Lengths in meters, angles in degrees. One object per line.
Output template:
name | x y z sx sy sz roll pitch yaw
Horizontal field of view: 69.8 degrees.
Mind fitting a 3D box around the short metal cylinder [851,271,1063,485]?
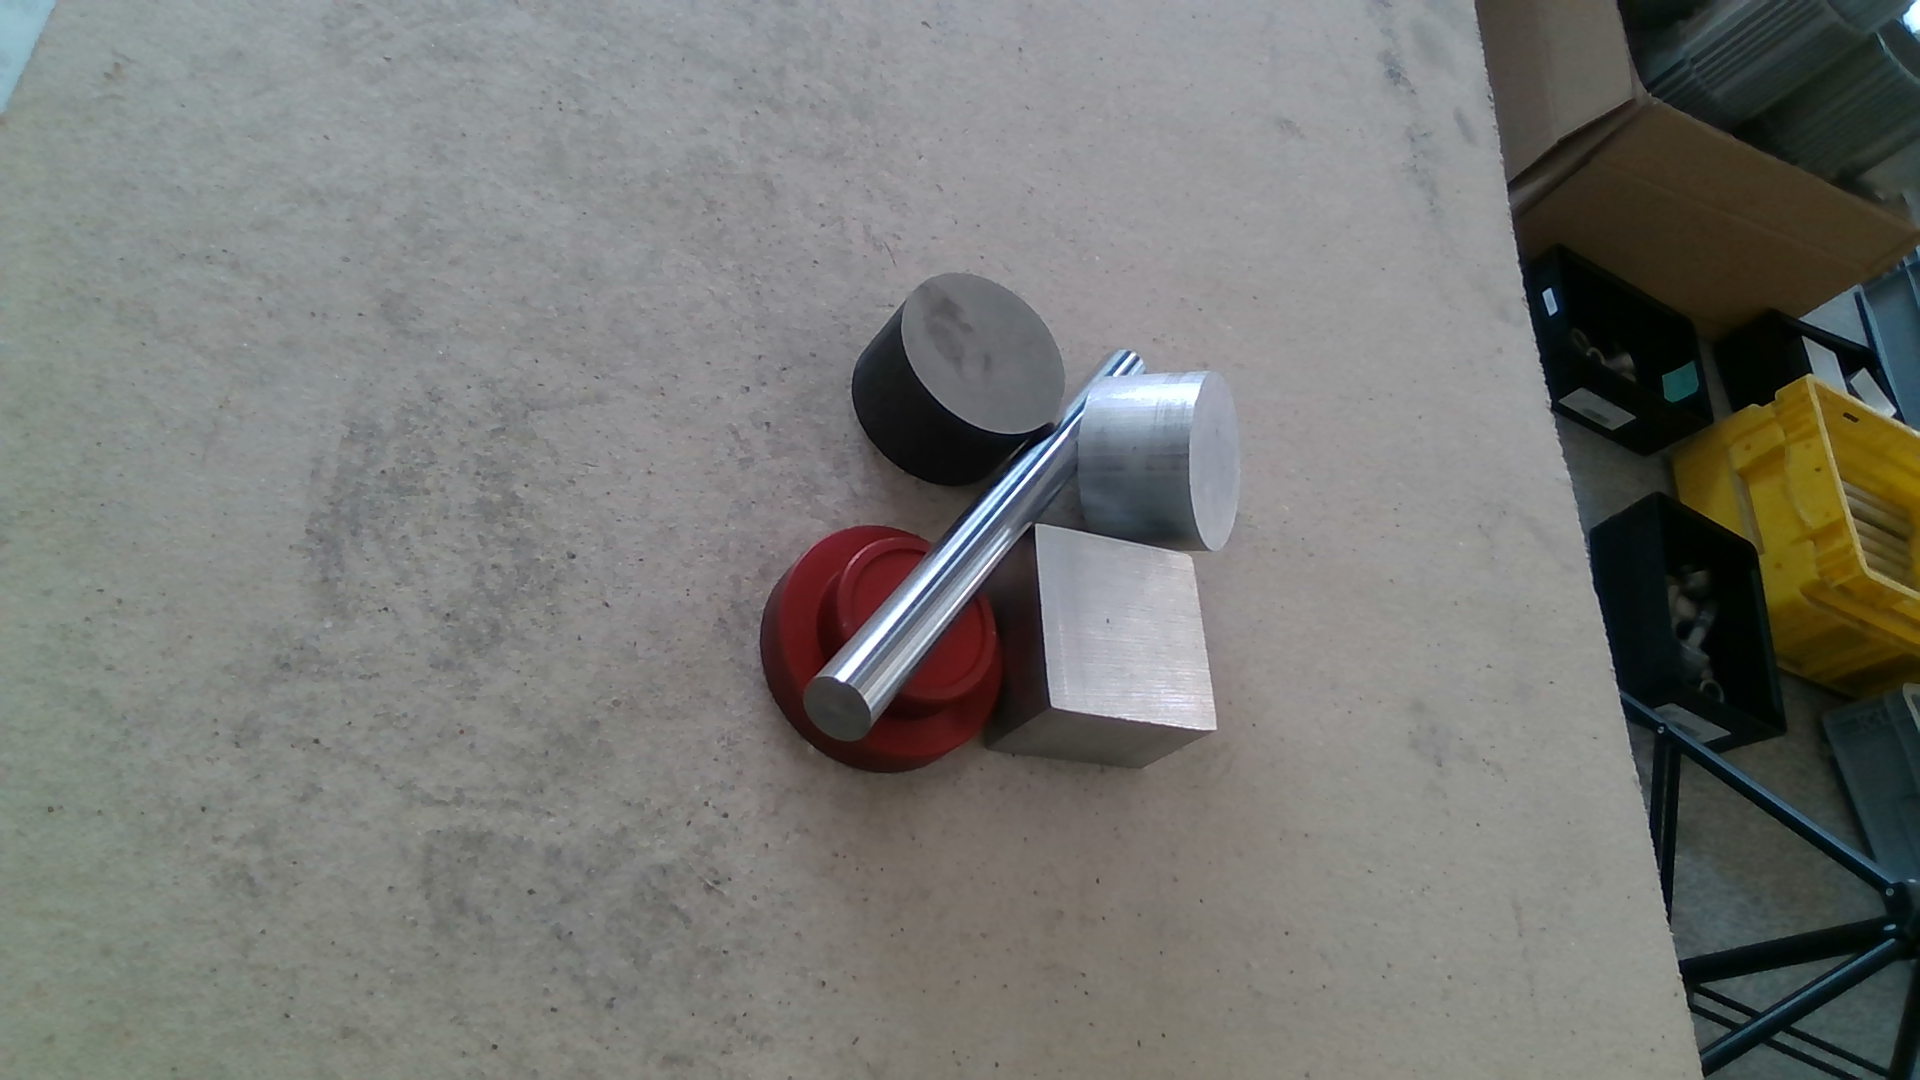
short metal cylinder | -0.002 -0.071 0.609 0.080 0.050 0.080 14 59 -25

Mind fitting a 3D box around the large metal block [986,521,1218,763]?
large metal block | 0.056 0.045 0.578 0.080 0.050 0.080 11 60 -27

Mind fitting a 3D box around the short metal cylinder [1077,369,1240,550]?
short metal cylinder | 0.091 -0.036 0.621 0.080 0.050 0.080 -4 95 -63

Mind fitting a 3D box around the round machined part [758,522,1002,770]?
round machined part | -0.025 0.037 0.539 0.098 0.042 0.098 14 59 -25

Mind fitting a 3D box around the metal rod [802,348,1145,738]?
metal rod | 0.020 -0.015 0.563 0.025 0.025 0.299 45 38 -3
